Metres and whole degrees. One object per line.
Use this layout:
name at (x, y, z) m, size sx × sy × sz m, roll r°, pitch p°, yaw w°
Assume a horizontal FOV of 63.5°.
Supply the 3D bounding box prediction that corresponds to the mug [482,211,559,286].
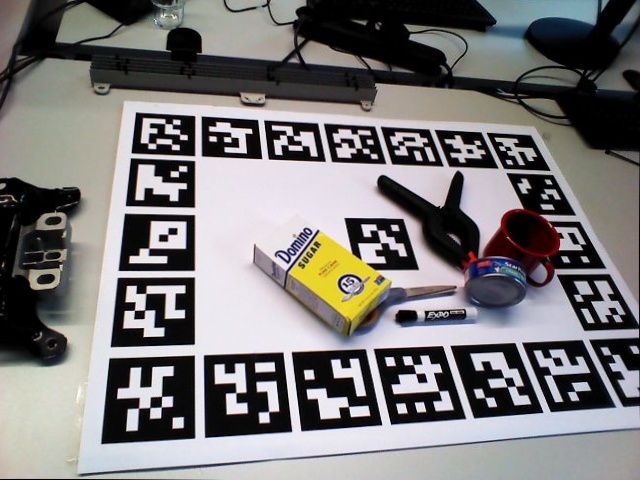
mug at (0.310, 0.022, 0.792) m, size 0.093 × 0.082 × 0.117 m, roll -24°, pitch 59°, yaw -28°

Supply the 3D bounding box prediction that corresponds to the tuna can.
tuna can at (0.259, 0.062, 0.744) m, size 0.086 × 0.086 × 0.033 m, roll 14°, pitch 52°, yaw -2°

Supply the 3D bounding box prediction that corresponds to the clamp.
clamp at (0.204, -0.034, 0.848) m, size 0.165 × 0.037 × 0.202 m, roll -8°, pitch 57°, yaw -19°

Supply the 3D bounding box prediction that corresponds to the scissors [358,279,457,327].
scissors at (0.109, 0.072, 0.741) m, size 0.202 × 0.016 × 0.087 m, roll -8°, pitch 52°, yaw -20°

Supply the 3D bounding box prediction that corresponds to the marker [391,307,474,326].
marker at (0.158, 0.108, 0.729) m, size 0.121 × 0.020 × 0.019 m, roll -3°, pitch 55°, yaw -14°

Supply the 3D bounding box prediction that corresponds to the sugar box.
sugar box at (0.004, 0.044, 0.719) m, size 0.092 × 0.045 × 0.177 m, roll -34°, pitch 61°, yaw -32°
